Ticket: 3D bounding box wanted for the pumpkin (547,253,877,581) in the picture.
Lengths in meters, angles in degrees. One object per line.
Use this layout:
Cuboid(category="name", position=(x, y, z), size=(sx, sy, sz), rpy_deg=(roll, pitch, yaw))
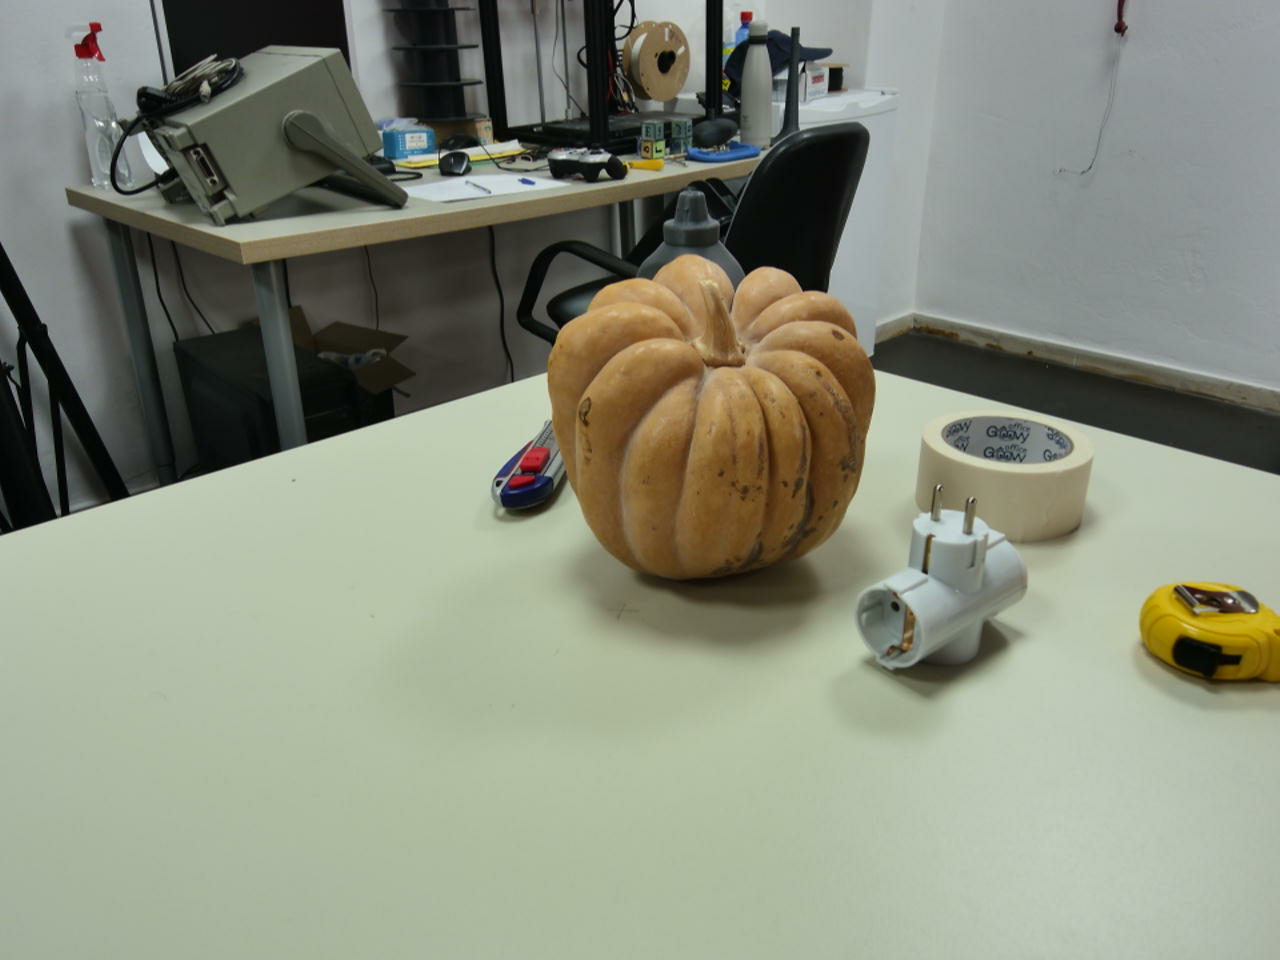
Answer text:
Cuboid(category="pumpkin", position=(0.042, -0.036, 0.597), size=(0.199, 0.177, 0.198), rpy_deg=(-1, 24, 0))
